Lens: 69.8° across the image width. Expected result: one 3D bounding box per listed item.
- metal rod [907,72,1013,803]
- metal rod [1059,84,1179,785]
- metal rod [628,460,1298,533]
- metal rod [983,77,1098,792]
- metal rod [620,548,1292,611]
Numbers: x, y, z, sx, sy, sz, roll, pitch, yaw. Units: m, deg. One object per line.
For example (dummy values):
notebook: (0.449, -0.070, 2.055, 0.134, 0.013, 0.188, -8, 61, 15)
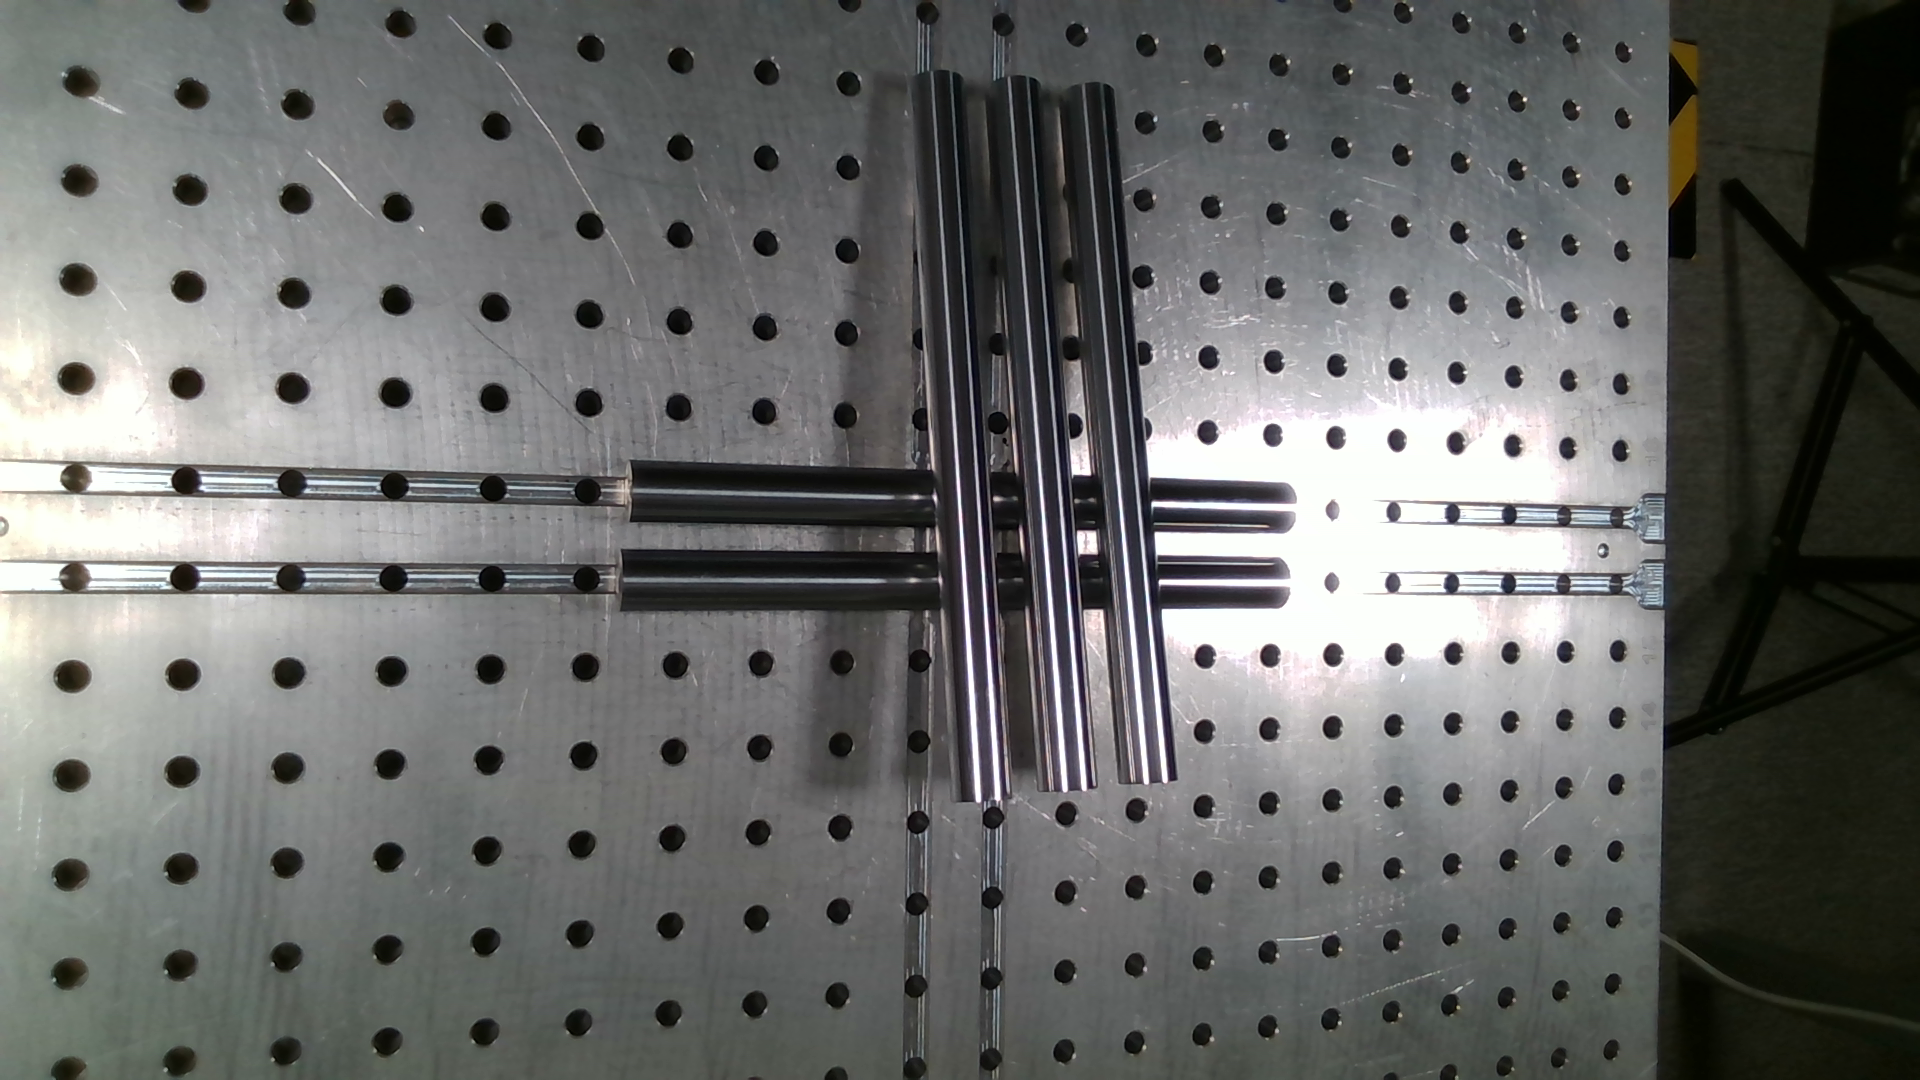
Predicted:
metal rod: (-0.001, -0.045, 0.566, 0.025, 0.025, 0.300, -1, 82, -20)
metal rod: (0.067, -0.048, 0.591, 0.025, 0.025, 0.300, -2, 83, -20)
metal rod: (0.010, -0.017, 0.592, 0.300, 0.025, 0.025, 1, 90, -20)
metal rod: (0.033, -0.047, 0.578, 0.025, 0.025, 0.300, -2, 83, -20)
metal rod: (0.007, 0.018, 0.591, 0.300, 0.025, 0.025, 1, 90, -20)
